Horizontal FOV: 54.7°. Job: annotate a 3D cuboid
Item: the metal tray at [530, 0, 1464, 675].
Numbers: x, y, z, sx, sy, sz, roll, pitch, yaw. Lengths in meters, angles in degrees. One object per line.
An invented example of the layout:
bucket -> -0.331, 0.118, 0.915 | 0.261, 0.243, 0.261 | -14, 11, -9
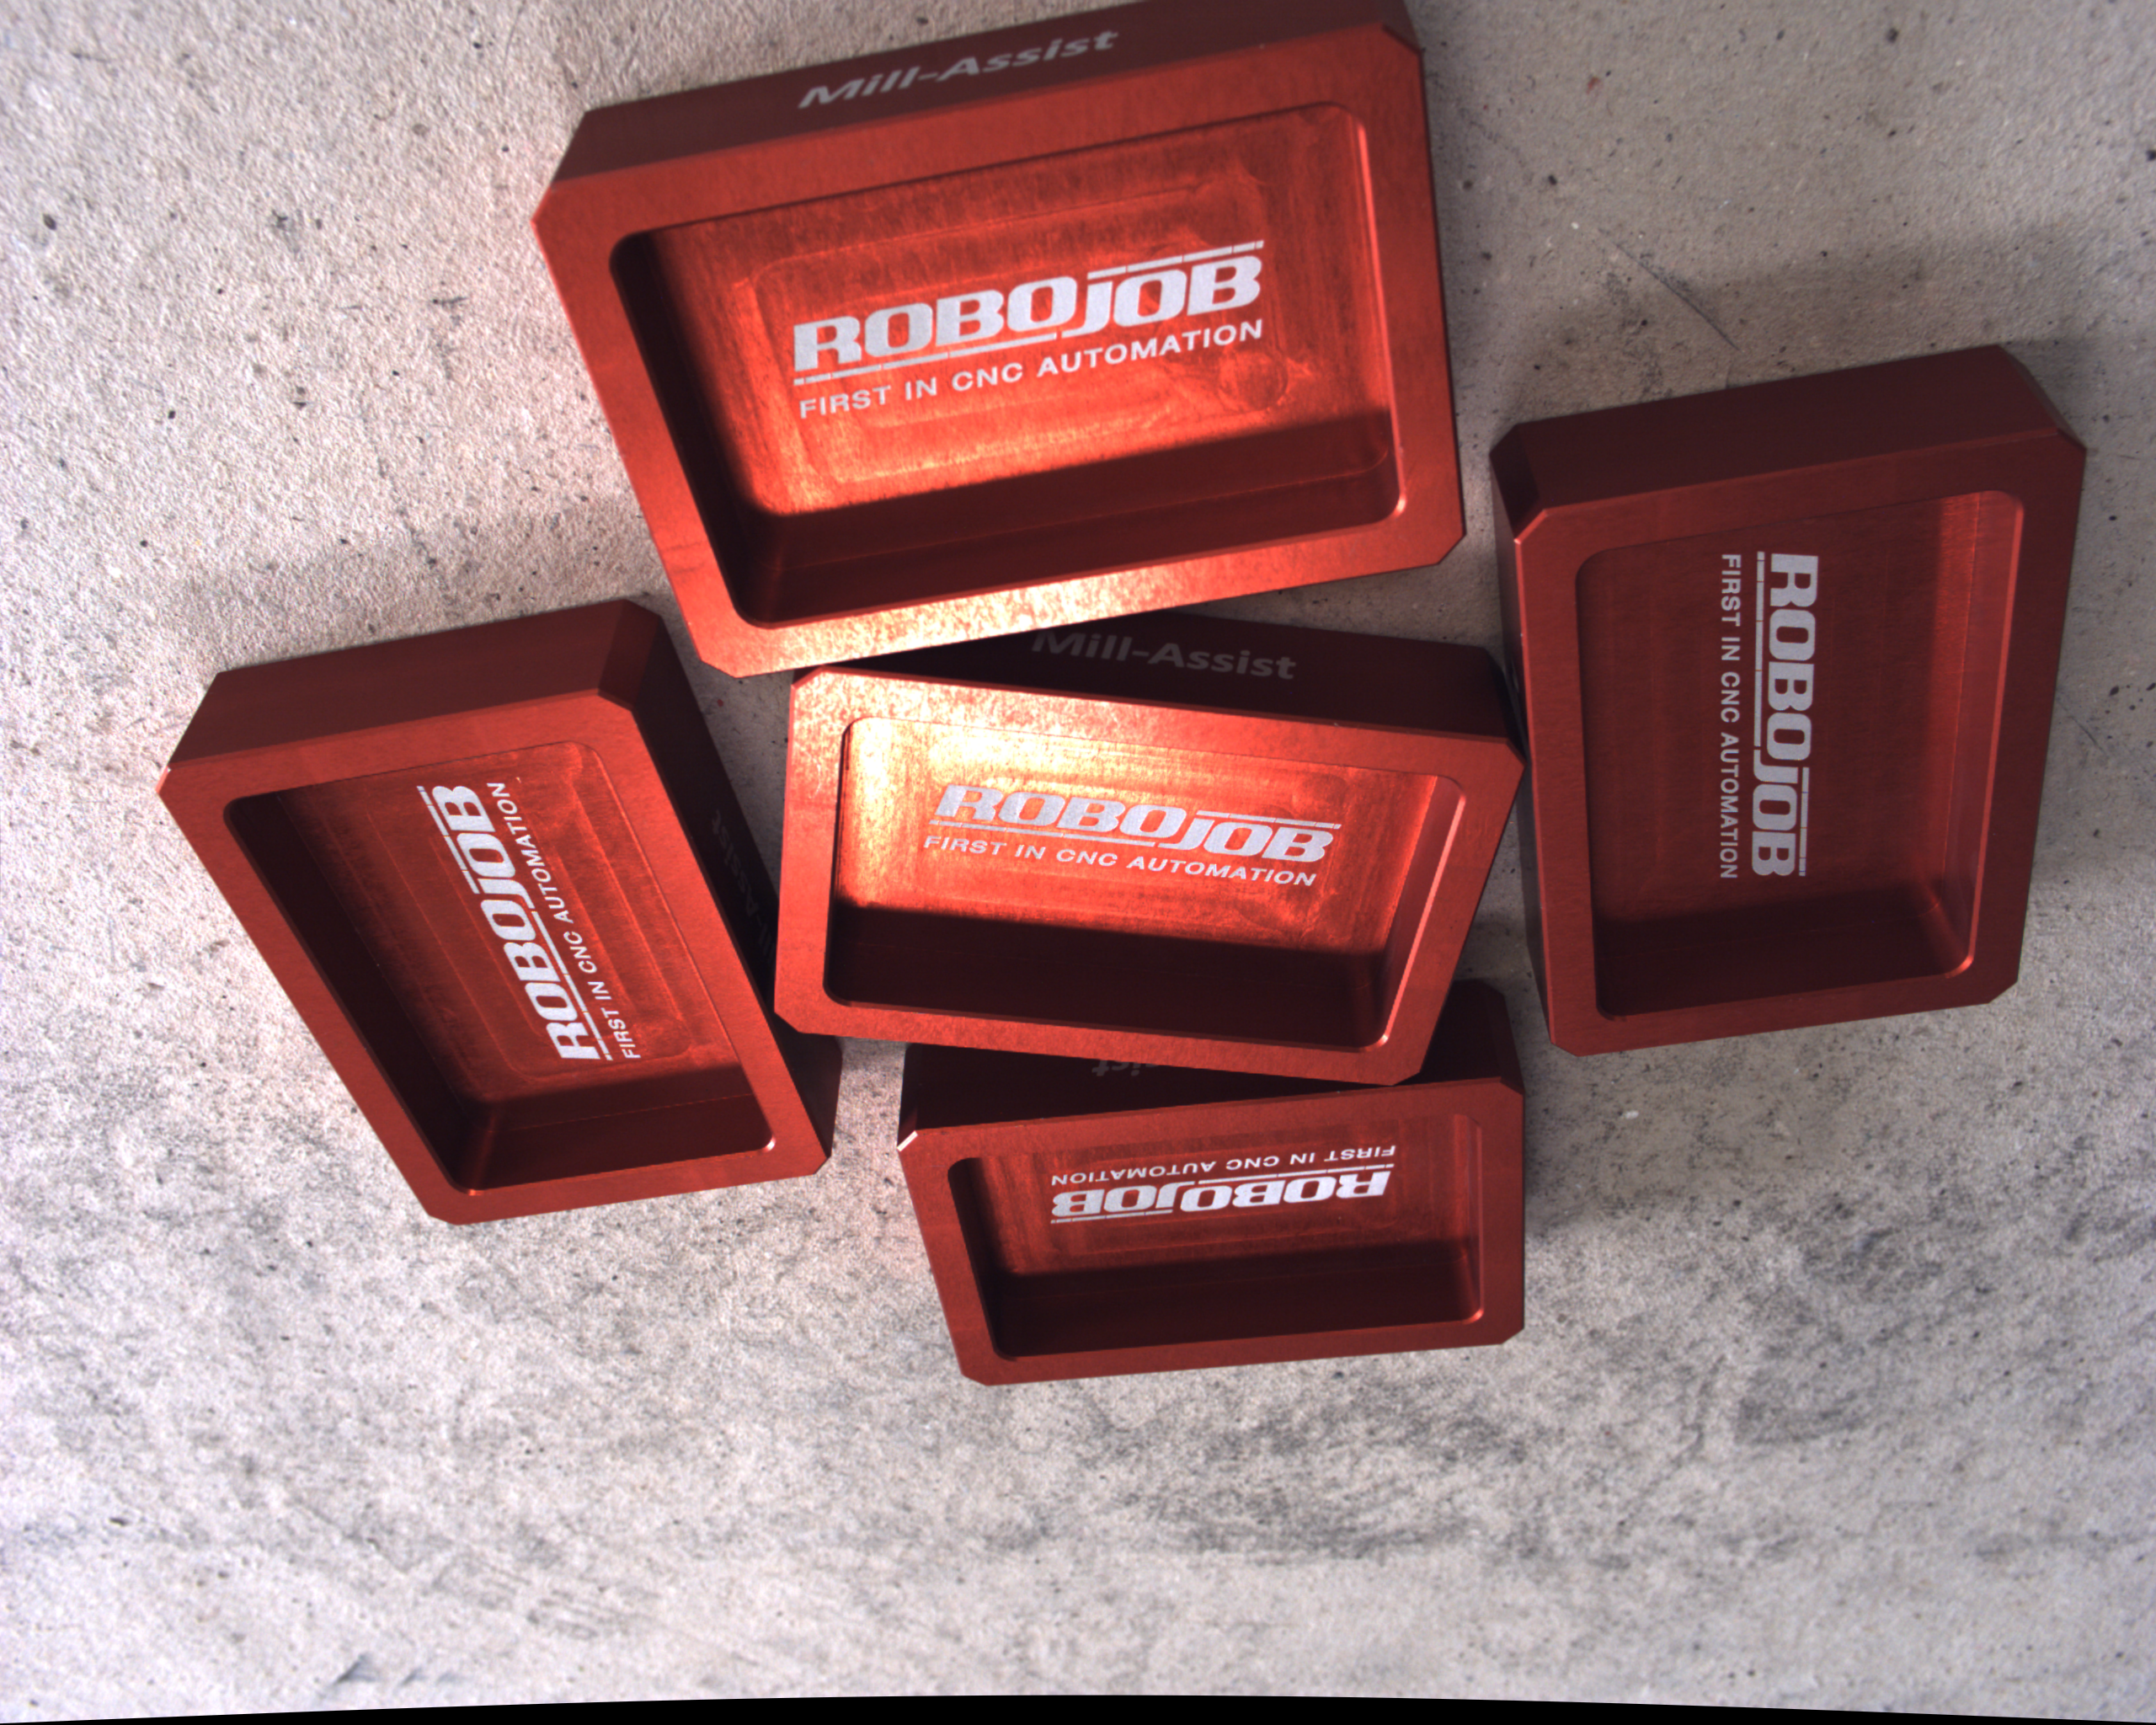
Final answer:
metal tray -> -0.008, -0.083, 0.335 | 0.131, 0.030, 0.090 | -8, 130, 7

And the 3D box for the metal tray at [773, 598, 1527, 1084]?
metal tray -> 0.010, -0.003, 0.402 | 0.131, 0.030, 0.089 | 6, 132, -5

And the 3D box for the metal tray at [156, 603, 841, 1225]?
metal tray -> -0.109, 0.016, 0.417 | 0.090, 0.030, 0.129 | -9, 130, 8

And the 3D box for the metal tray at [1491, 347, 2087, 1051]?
metal tray -> 0.128, -0.024, 0.386 | 0.090, 0.030, 0.129 | -8, 130, 7

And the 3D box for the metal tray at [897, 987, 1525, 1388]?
metal tray -> 0.032, 0.075, 0.469 | 0.131, 0.030, 0.089 | -6, 130, 5
